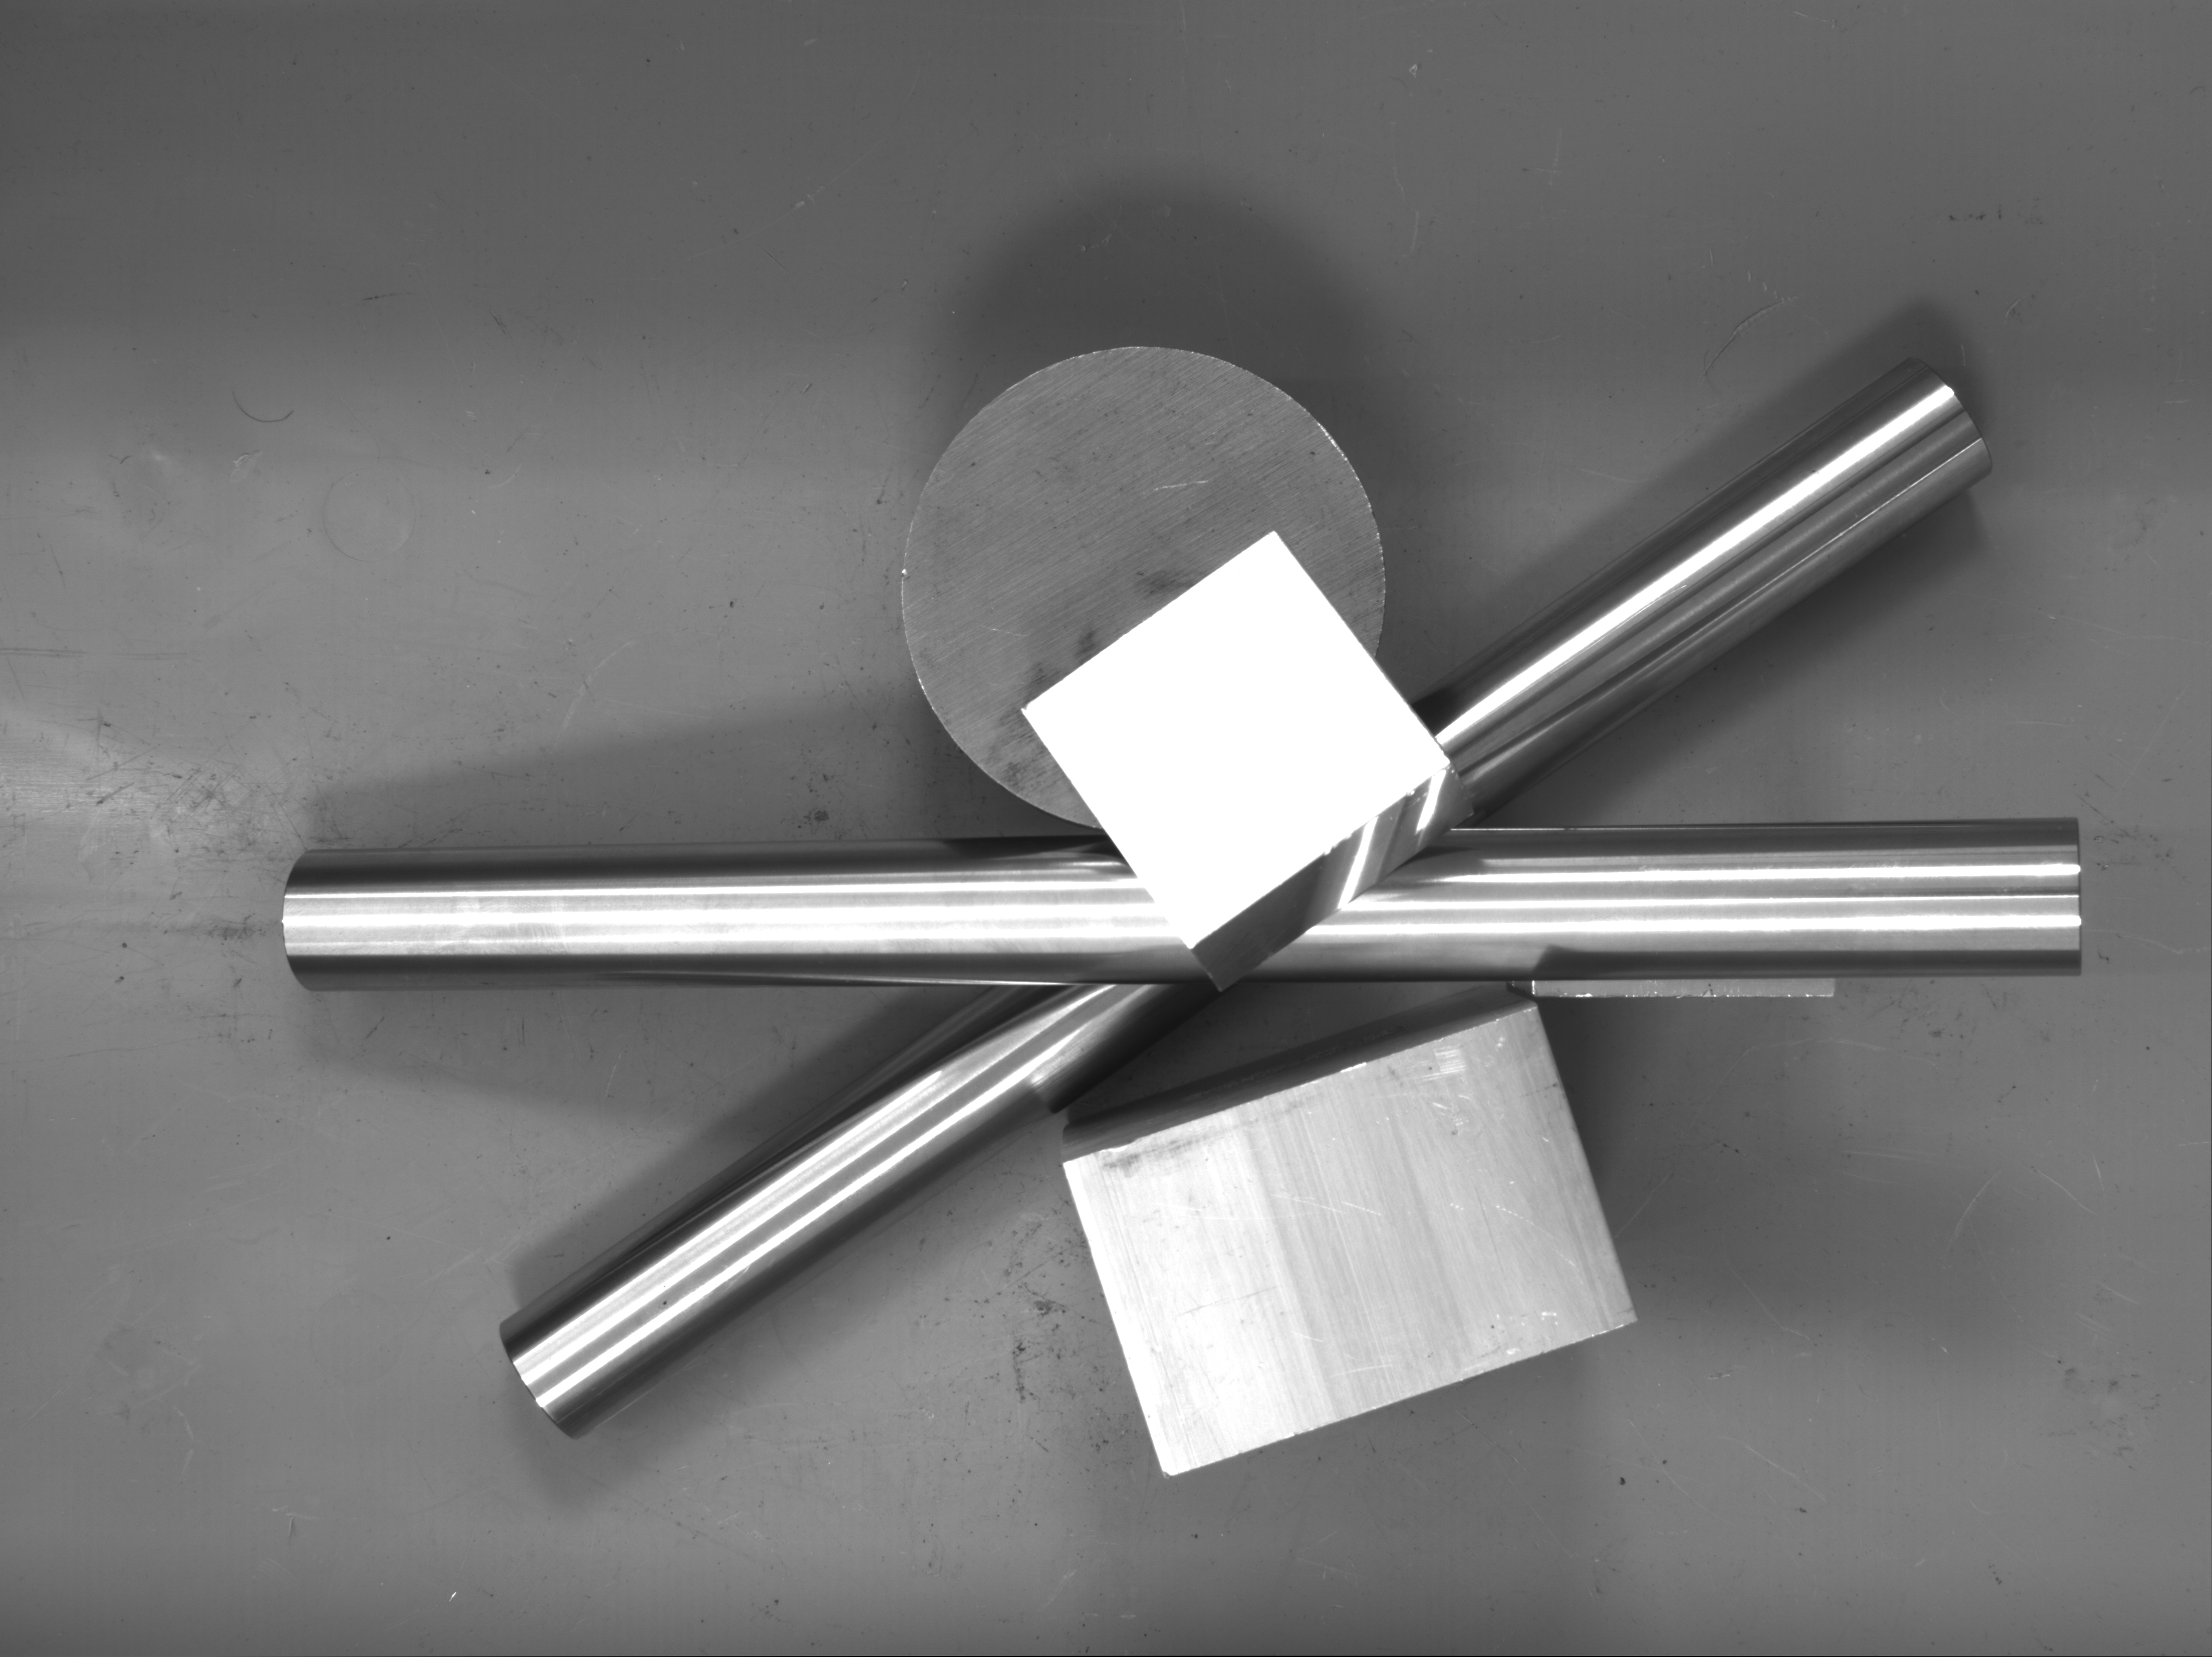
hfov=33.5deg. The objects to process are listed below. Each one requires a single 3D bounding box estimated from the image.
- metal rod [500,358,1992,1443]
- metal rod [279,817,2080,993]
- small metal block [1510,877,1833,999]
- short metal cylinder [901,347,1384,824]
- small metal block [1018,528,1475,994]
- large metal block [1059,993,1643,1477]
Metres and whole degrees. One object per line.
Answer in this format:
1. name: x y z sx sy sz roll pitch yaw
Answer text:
1. metal rod: 0.025 0.013 0.646 0.300 0.025 0.025 -34 90 0
2. metal rod: 0.006 0.014 0.610 0.299 0.025 0.025 -1 90 13
3. small metal block: 0.096 0.016 0.632 0.050 0.050 0.025 0 90 1
4. short metal cylinder: 0.006 -0.039 0.632 0.080 0.050 0.080 0 89 0
5. small metal block: 0.023 -0.011 0.587 0.050 0.025 0.050 -35 67 0
6. large metal block: 0.039 0.066 0.616 0.080 0.080 0.050 -18 90 0
